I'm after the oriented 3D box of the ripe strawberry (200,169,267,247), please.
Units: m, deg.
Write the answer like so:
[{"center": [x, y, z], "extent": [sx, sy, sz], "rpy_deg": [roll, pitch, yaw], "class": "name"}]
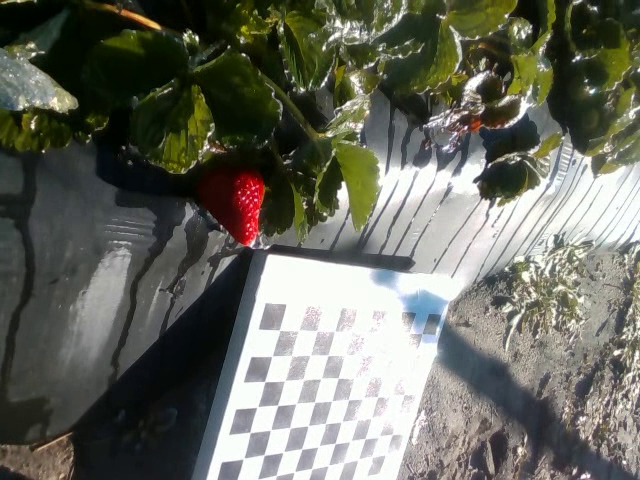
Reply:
[{"center": [-0.047, -0.019, 0.357], "extent": [0.041, 0.053, 0.047], "rpy_deg": [1, -23, -43], "class": "ripe strawberry"}]
